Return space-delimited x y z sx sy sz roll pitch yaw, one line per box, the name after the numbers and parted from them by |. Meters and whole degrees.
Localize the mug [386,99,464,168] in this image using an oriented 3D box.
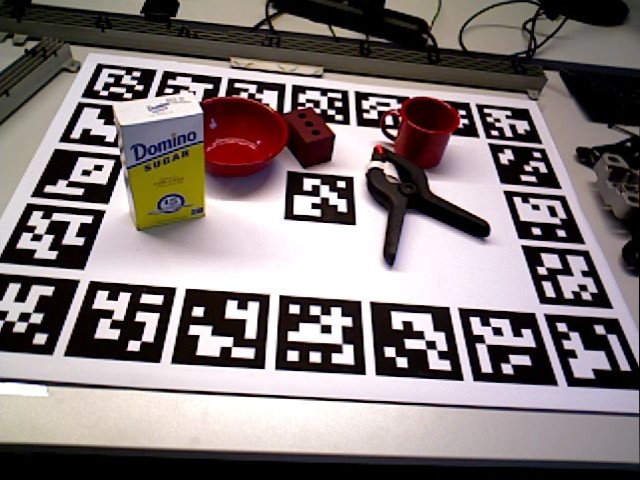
0.155 -0.171 0.834 0.117 0.083 0.091 27 52 8 | mug

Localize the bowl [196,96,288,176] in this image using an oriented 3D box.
-0.128 -0.144 0.789 0.160 0.056 0.159 5 51 -6 | bowl

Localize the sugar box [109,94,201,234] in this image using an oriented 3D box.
-0.192 -0.087 0.654 0.091 0.181 0.045 -15 57 -22 | sugar box

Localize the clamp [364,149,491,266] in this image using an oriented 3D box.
0.122 -0.064 0.768 0.163 0.037 0.201 -16 57 -18 | clamp

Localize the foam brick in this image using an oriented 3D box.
-0.015 -0.151 0.822 0.052 0.052 0.077 -19 58 -21 | foam brick
